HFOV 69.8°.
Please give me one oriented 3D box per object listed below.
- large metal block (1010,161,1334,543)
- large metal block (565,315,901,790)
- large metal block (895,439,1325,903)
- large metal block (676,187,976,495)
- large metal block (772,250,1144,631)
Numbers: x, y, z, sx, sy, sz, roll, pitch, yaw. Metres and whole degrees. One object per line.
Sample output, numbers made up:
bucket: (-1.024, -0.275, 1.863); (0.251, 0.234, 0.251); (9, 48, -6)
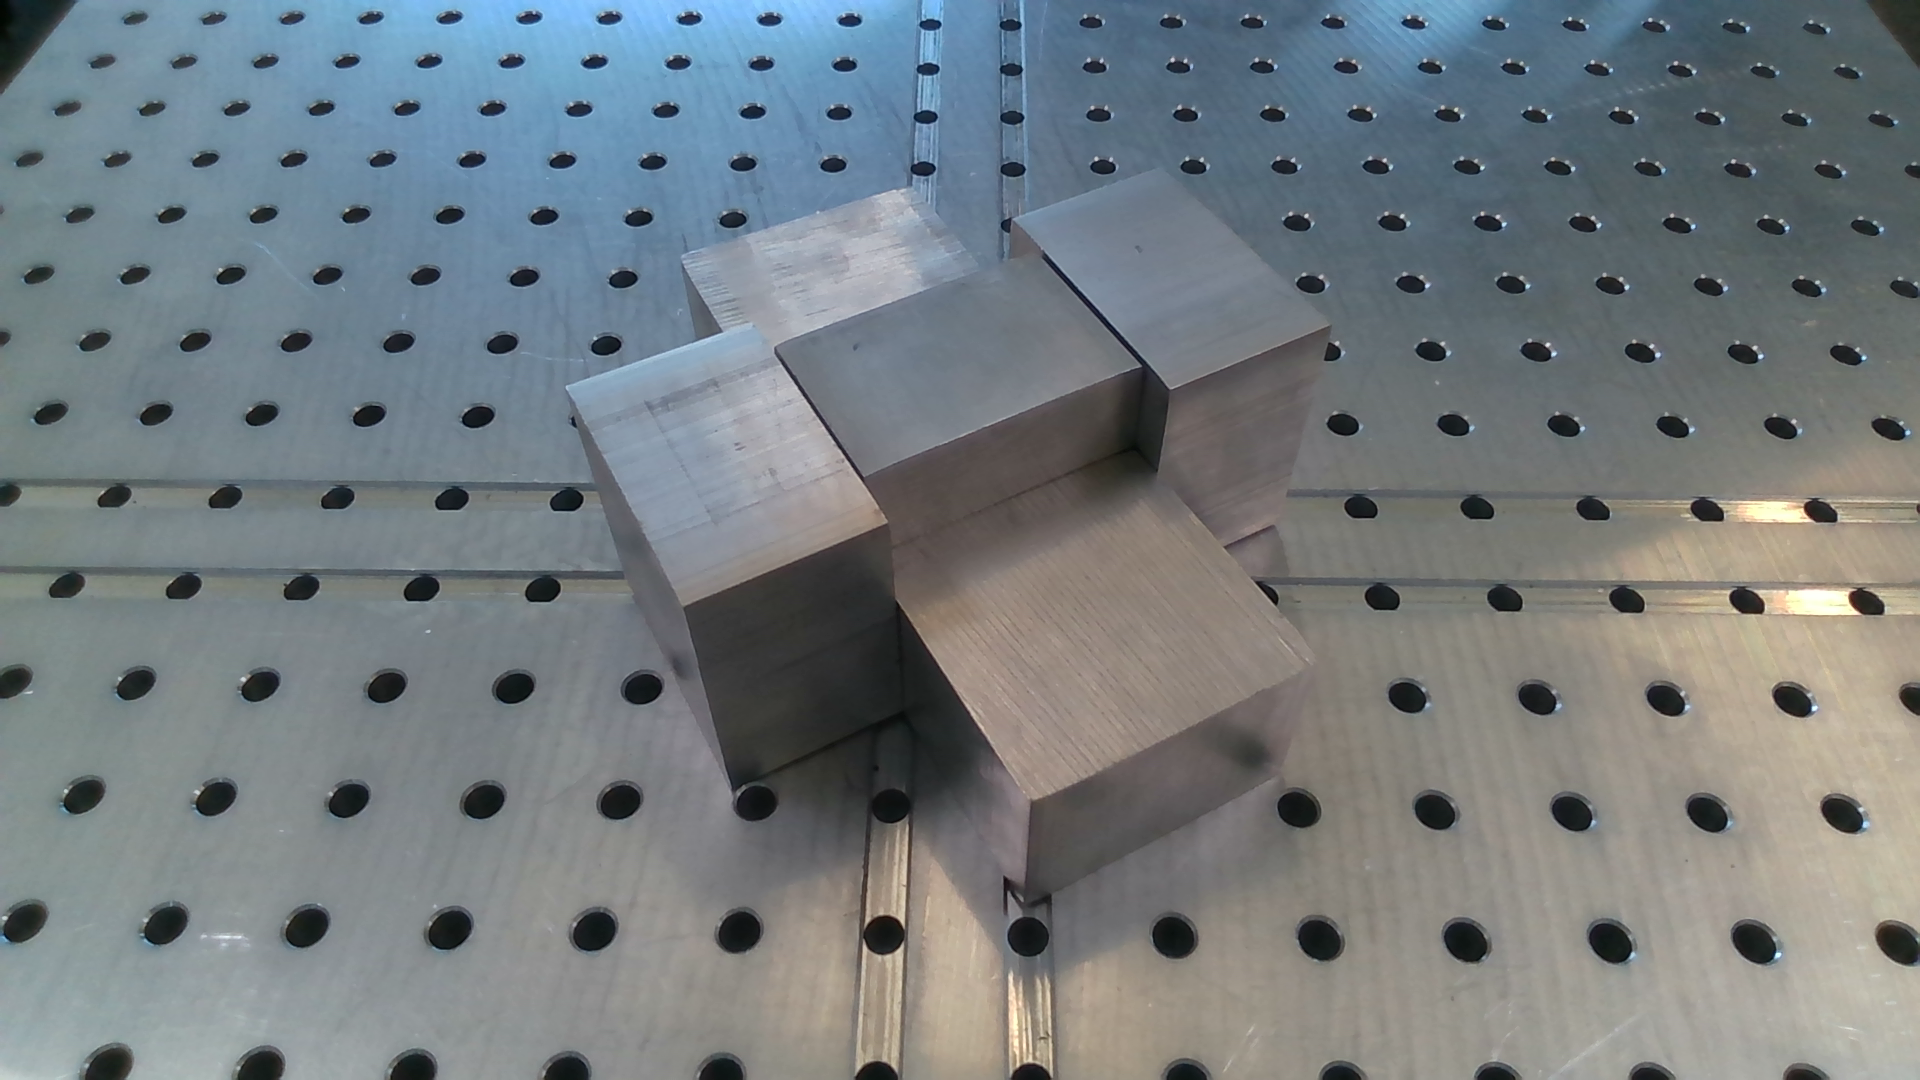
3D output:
large metal block: (0.055, -0.048, 0.401); (0.050, 0.080, 0.080); (-22, 54, -18)
large metal block: (-0.057, 0.003, 0.358); (0.050, 0.080, 0.080); (-23, 54, -18)
large metal block: (0.032, 0.031, 0.353); (0.080, 0.050, 0.080); (-24, 54, -16)
large metal block: (-0.033, -0.057, 0.429); (0.080, 0.050, 0.080); (-21, 53, -17)
large metal block: (-0.001, -0.022, 0.379); (0.080, 0.080, 0.050); (-23, 54, -18)
